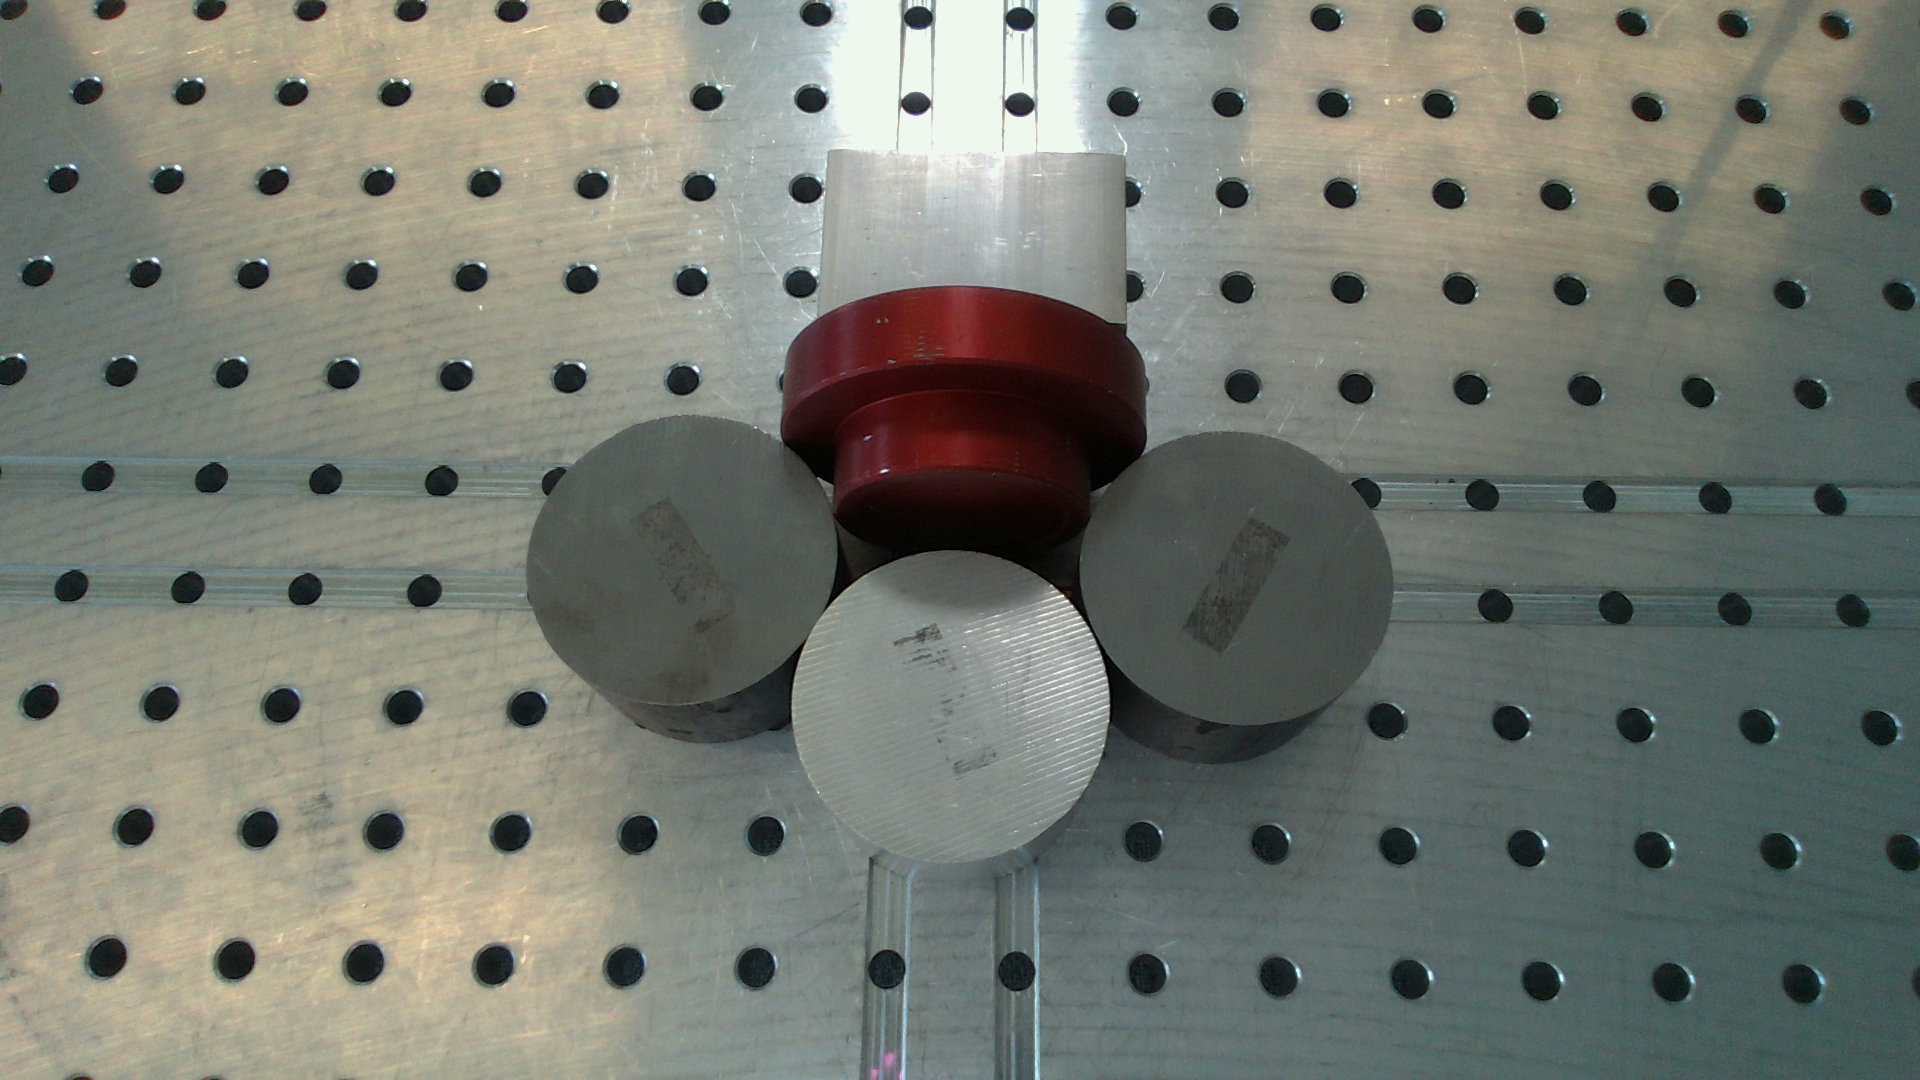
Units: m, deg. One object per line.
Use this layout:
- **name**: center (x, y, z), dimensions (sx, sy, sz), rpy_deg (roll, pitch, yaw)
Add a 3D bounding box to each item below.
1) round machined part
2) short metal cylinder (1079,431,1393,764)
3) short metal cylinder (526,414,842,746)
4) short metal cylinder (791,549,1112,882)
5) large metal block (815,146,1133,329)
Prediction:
- **round machined part**: center (0.001, -0.025, 0.365), dimensions (0.098, 0.098, 0.042), rpy_deg (2, 69, 1)
- **short metal cylinder**: center (0.072, 0.017, 0.378), dimensions (0.080, 0.050, 0.080), rpy_deg (0, 70, 0)
- **short metal cylinder**: center (-0.072, 0.012, 0.379), dimensions (0.080, 0.050, 0.080), rpy_deg (0, 70, 0)
- **short metal cylinder**: center (-0.002, 0.048, 0.366), dimensions (0.080, 0.050, 0.080), rpy_deg (0, 70, 0)
- **large metal block**: center (0.004, -0.066, 0.391), dimensions (0.080, 0.080, 0.050), rpy_deg (1, 70, 0)
